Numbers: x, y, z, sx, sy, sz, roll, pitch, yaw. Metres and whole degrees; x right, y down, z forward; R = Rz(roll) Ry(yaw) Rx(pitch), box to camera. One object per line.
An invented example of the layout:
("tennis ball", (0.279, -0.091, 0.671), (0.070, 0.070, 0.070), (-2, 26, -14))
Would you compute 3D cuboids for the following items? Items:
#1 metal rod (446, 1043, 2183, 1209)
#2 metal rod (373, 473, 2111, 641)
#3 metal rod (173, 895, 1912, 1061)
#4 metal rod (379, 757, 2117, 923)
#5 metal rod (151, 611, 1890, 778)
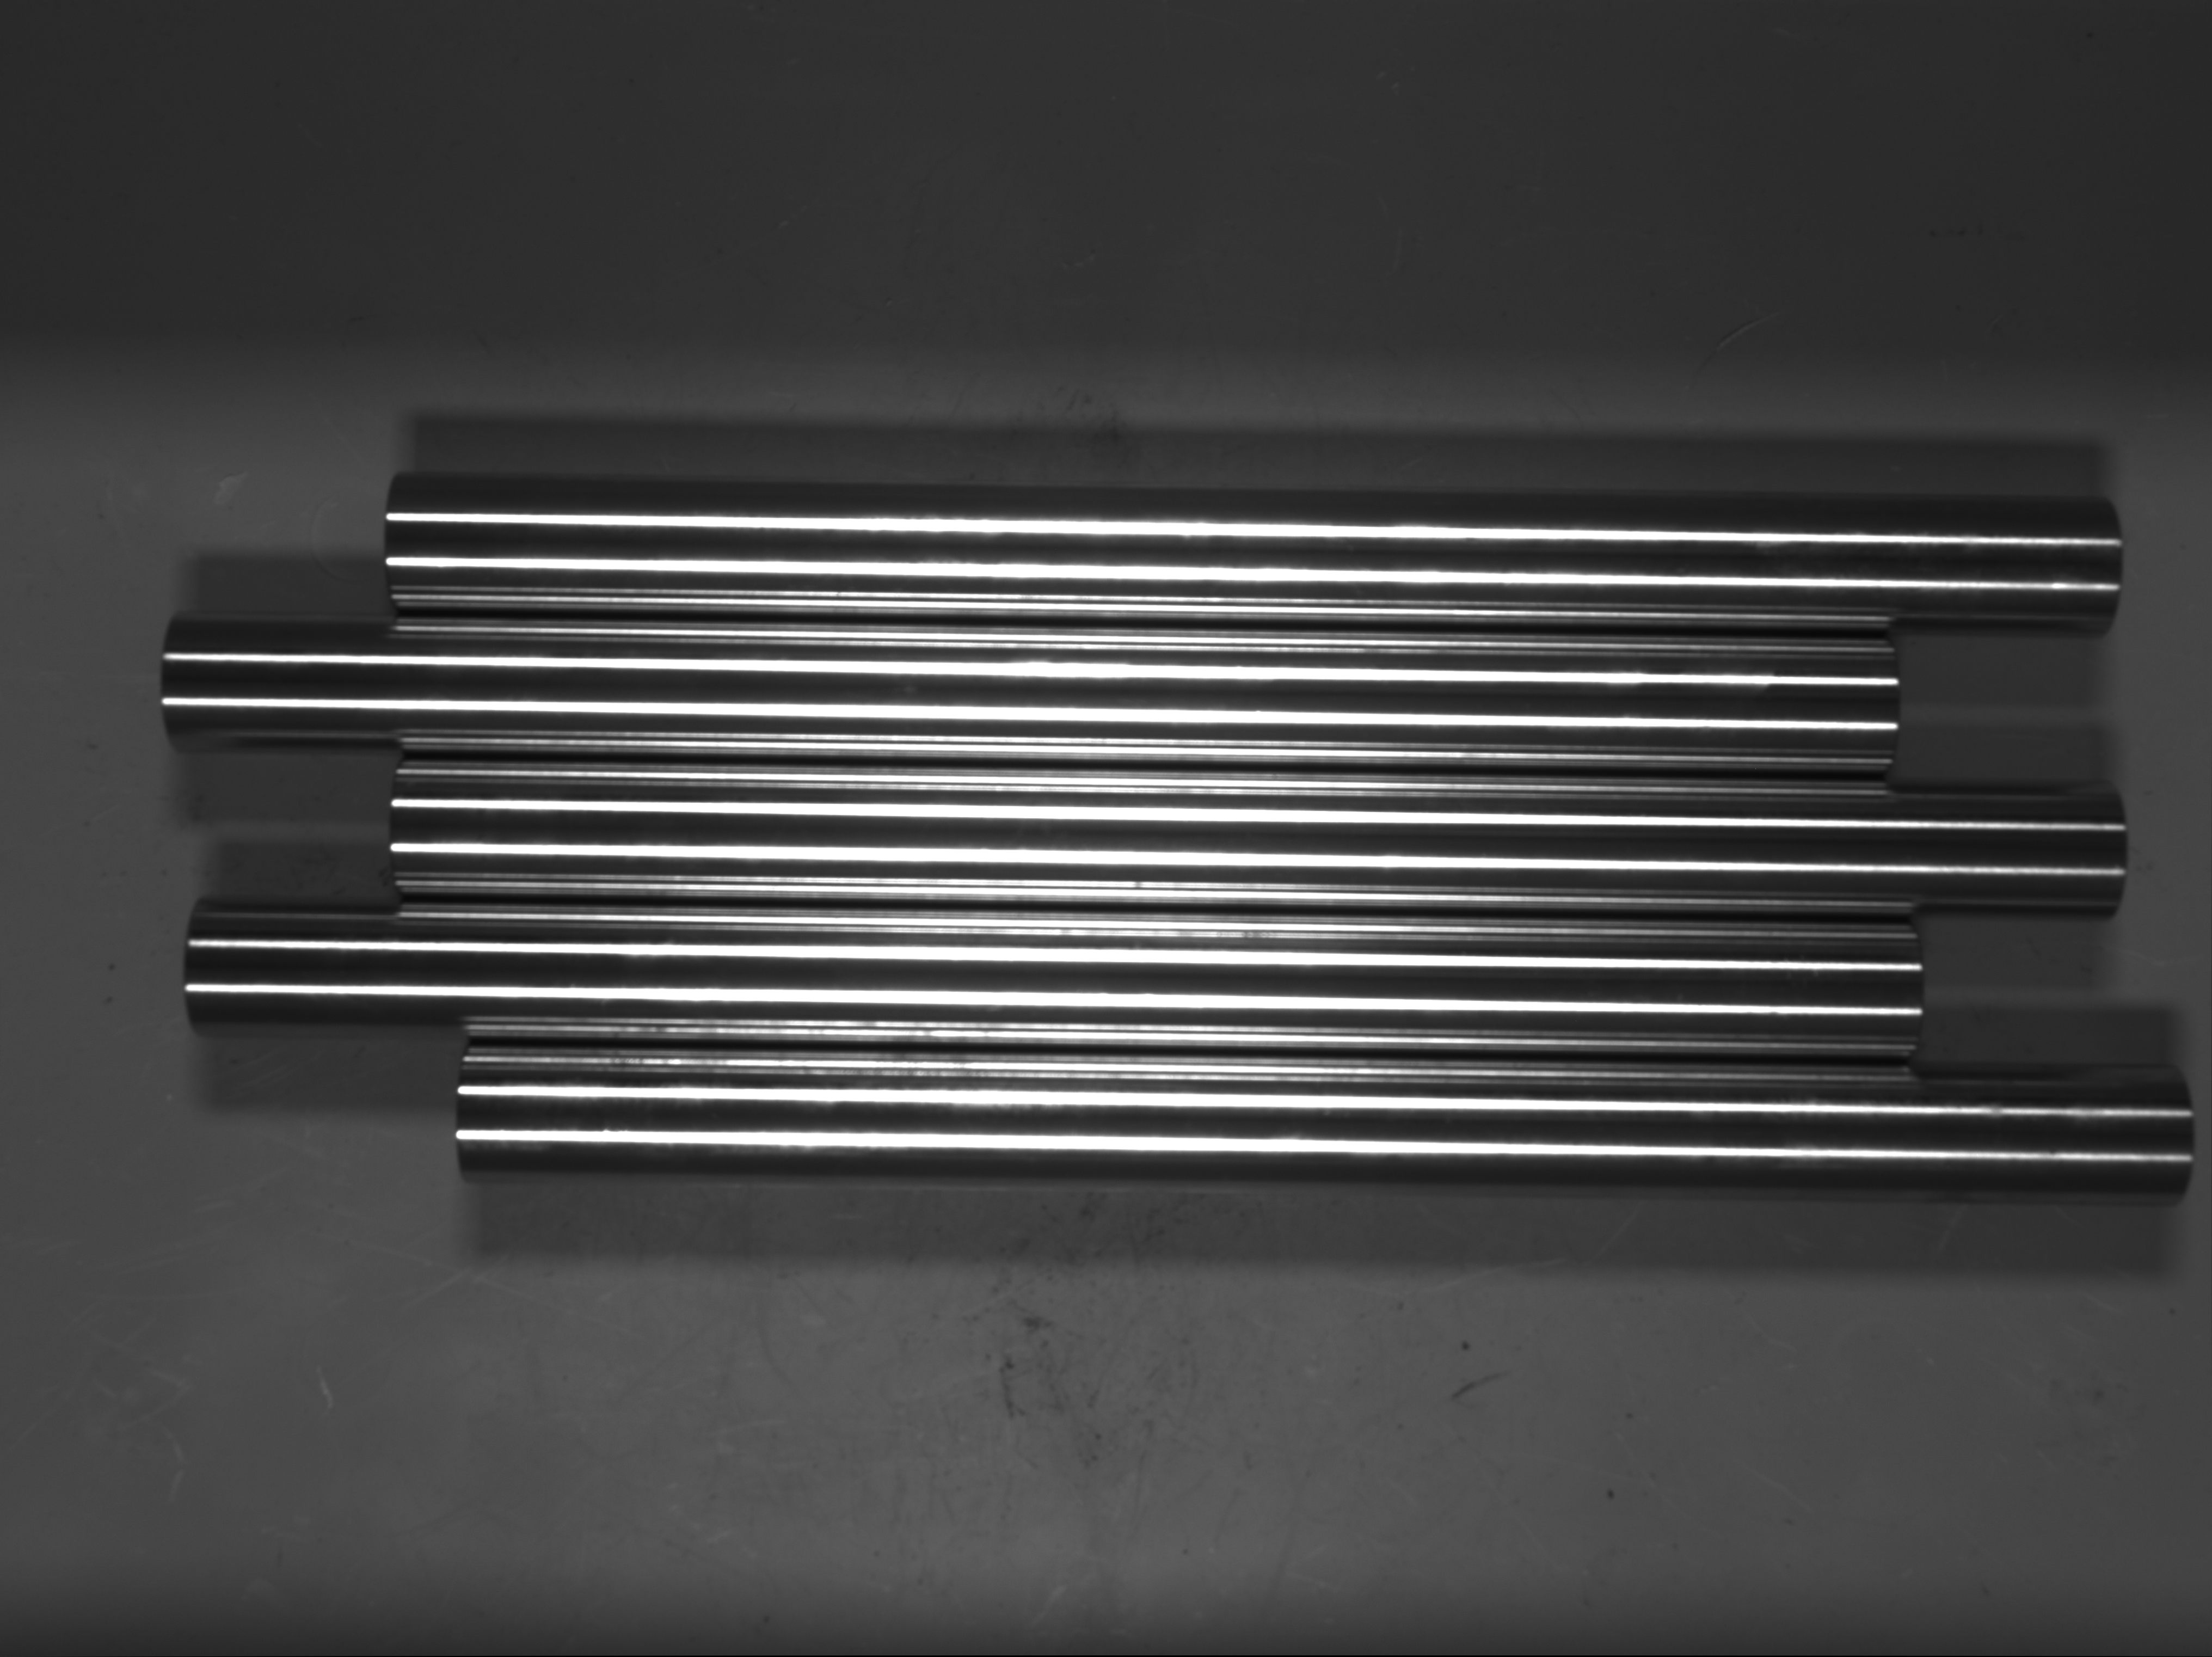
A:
("metal rod", (0.036, 0.052, 0.644), (0.300, 0.025, 0.025), (1, 90, -1))
("metal rod", (0.024, -0.048, 0.644), (0.300, 0.025, 0.025), (1, 90, -1))
("metal rod", (-0.011, 0.026, 0.644), (0.300, 0.025, 0.025), (1, 90, -1))
("metal rod", (0.025, 0.002, 0.644), (0.300, 0.025, 0.025), (1, 90, -1))
("metal rod", (-0.014, -0.024, 0.644), (0.300, 0.025, 0.025), (1, 90, -1))
